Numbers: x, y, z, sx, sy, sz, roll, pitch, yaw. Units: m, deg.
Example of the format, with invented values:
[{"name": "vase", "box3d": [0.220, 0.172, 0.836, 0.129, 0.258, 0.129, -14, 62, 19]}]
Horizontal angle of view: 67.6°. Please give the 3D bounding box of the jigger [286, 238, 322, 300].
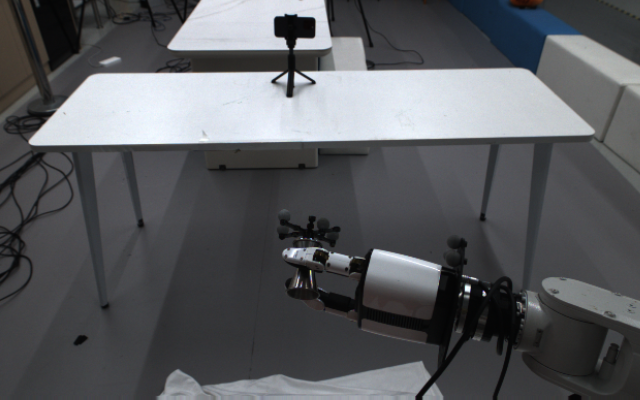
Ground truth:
[{"name": "jigger", "box3d": [-0.020, 0.085, 0.614, 0.043, 0.043, 0.071, 4, 60, 3]}]
